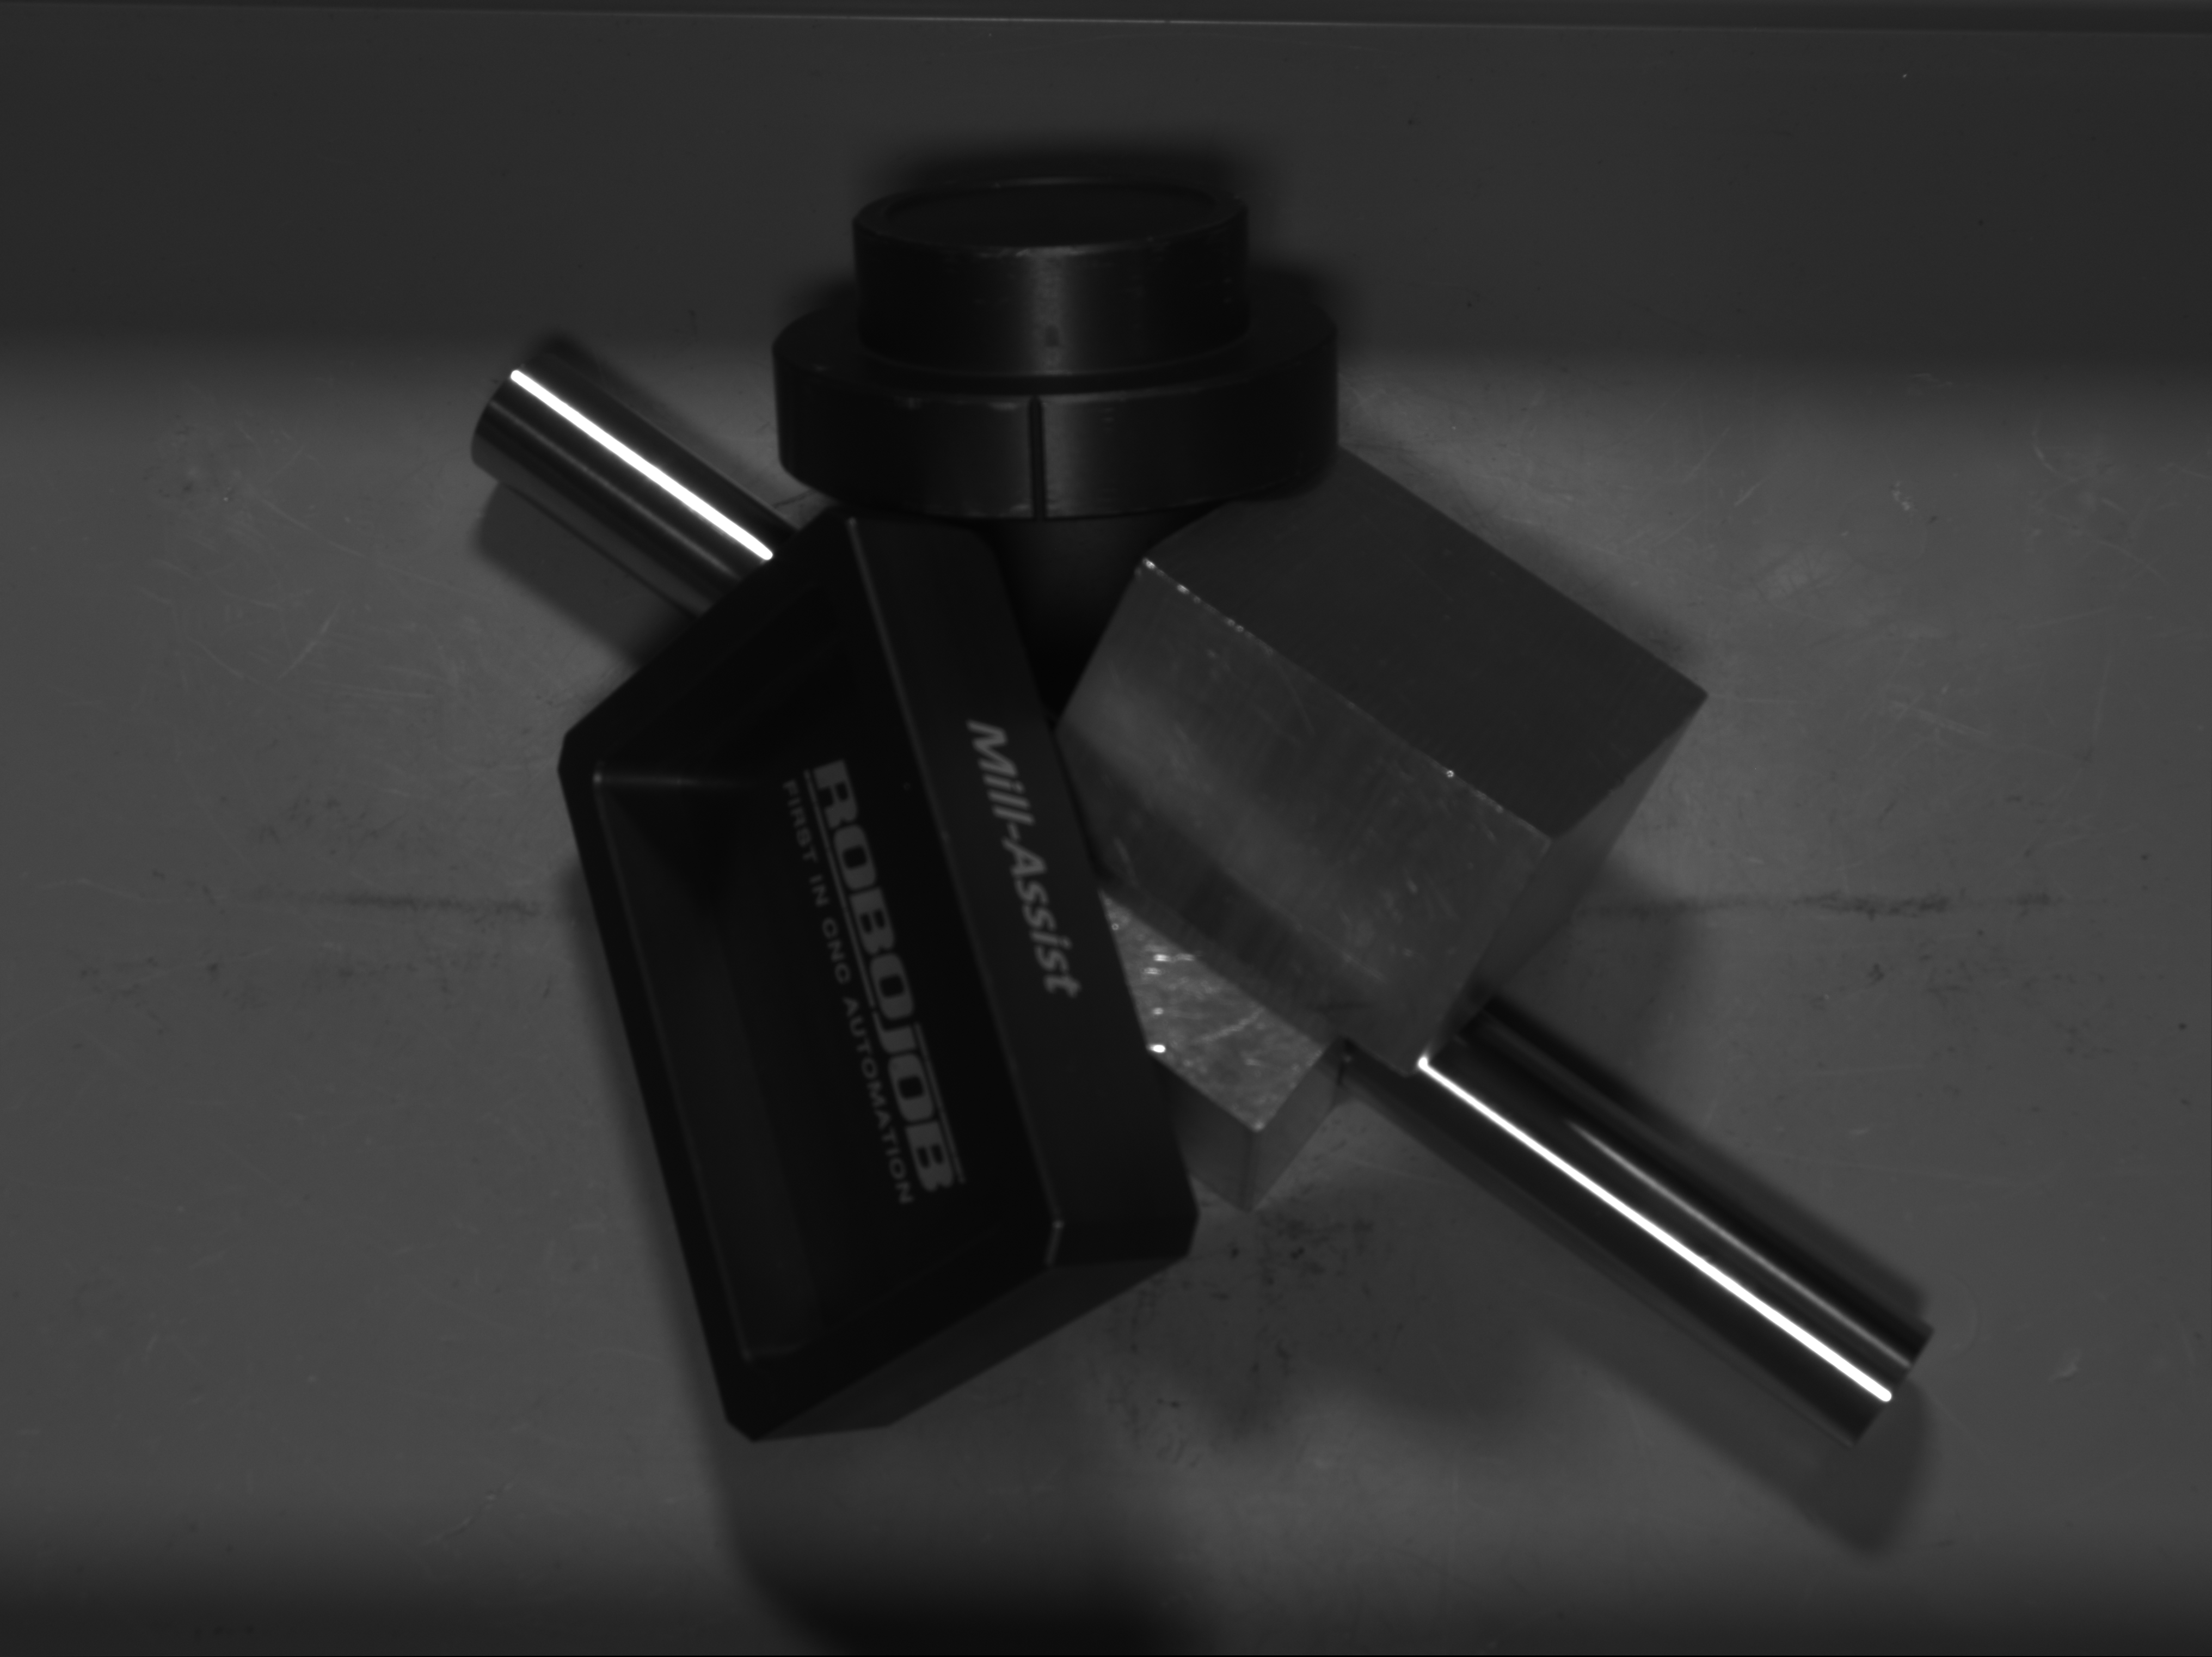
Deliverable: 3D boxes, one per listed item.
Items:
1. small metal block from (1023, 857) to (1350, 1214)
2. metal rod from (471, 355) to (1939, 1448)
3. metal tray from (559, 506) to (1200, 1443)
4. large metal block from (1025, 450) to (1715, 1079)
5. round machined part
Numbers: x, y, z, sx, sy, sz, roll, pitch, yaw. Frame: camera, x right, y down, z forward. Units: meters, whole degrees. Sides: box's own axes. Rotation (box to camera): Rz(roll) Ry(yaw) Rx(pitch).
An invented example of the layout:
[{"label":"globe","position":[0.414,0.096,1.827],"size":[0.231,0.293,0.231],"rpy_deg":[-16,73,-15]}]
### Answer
[{"label":"small metal block","position":[0.013,0.034,0.617],"size":[0.050,0.050,0.025],"rpy_deg":[36,74,12]},{"label":"metal rod","position":[0.012,0.008,0.641],"size":[0.300,0.025,0.025],"rpy_deg":[35,74,12]},{"label":"metal tray","position":[-0.041,0.024,0.602],"size":[0.030,0.090,0.130],"rpy_deg":[2,63,-43]},{"label":"large metal block","position":[0.044,-0.014,0.615],"size":[0.080,0.050,0.080],"rpy_deg":[35,31,12]},{"label":"round machined part","position":[-0.008,-0.087,0.635],"size":[0.098,0.098,0.042],"rpy_deg":[-2,110,-1]}]
